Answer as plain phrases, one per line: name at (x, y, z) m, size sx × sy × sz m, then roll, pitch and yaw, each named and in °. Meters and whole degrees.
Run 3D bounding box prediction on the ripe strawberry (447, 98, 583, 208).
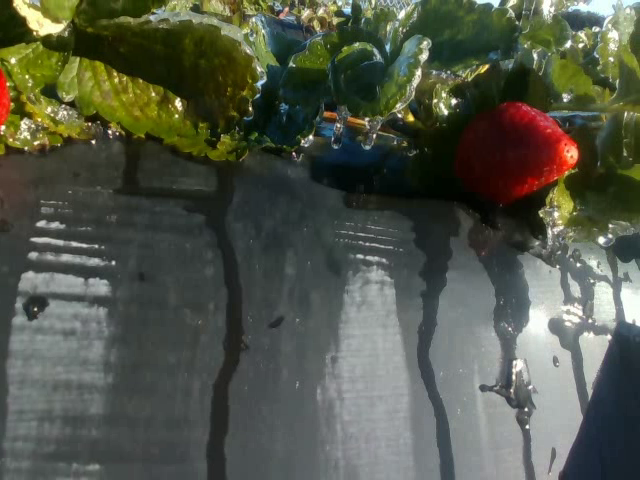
ripe strawberry at (0.073, -0.032, 0.211) m, size 0.041 × 0.047 × 0.052 m, roll 5°, pitch 6°, yaw -7°
